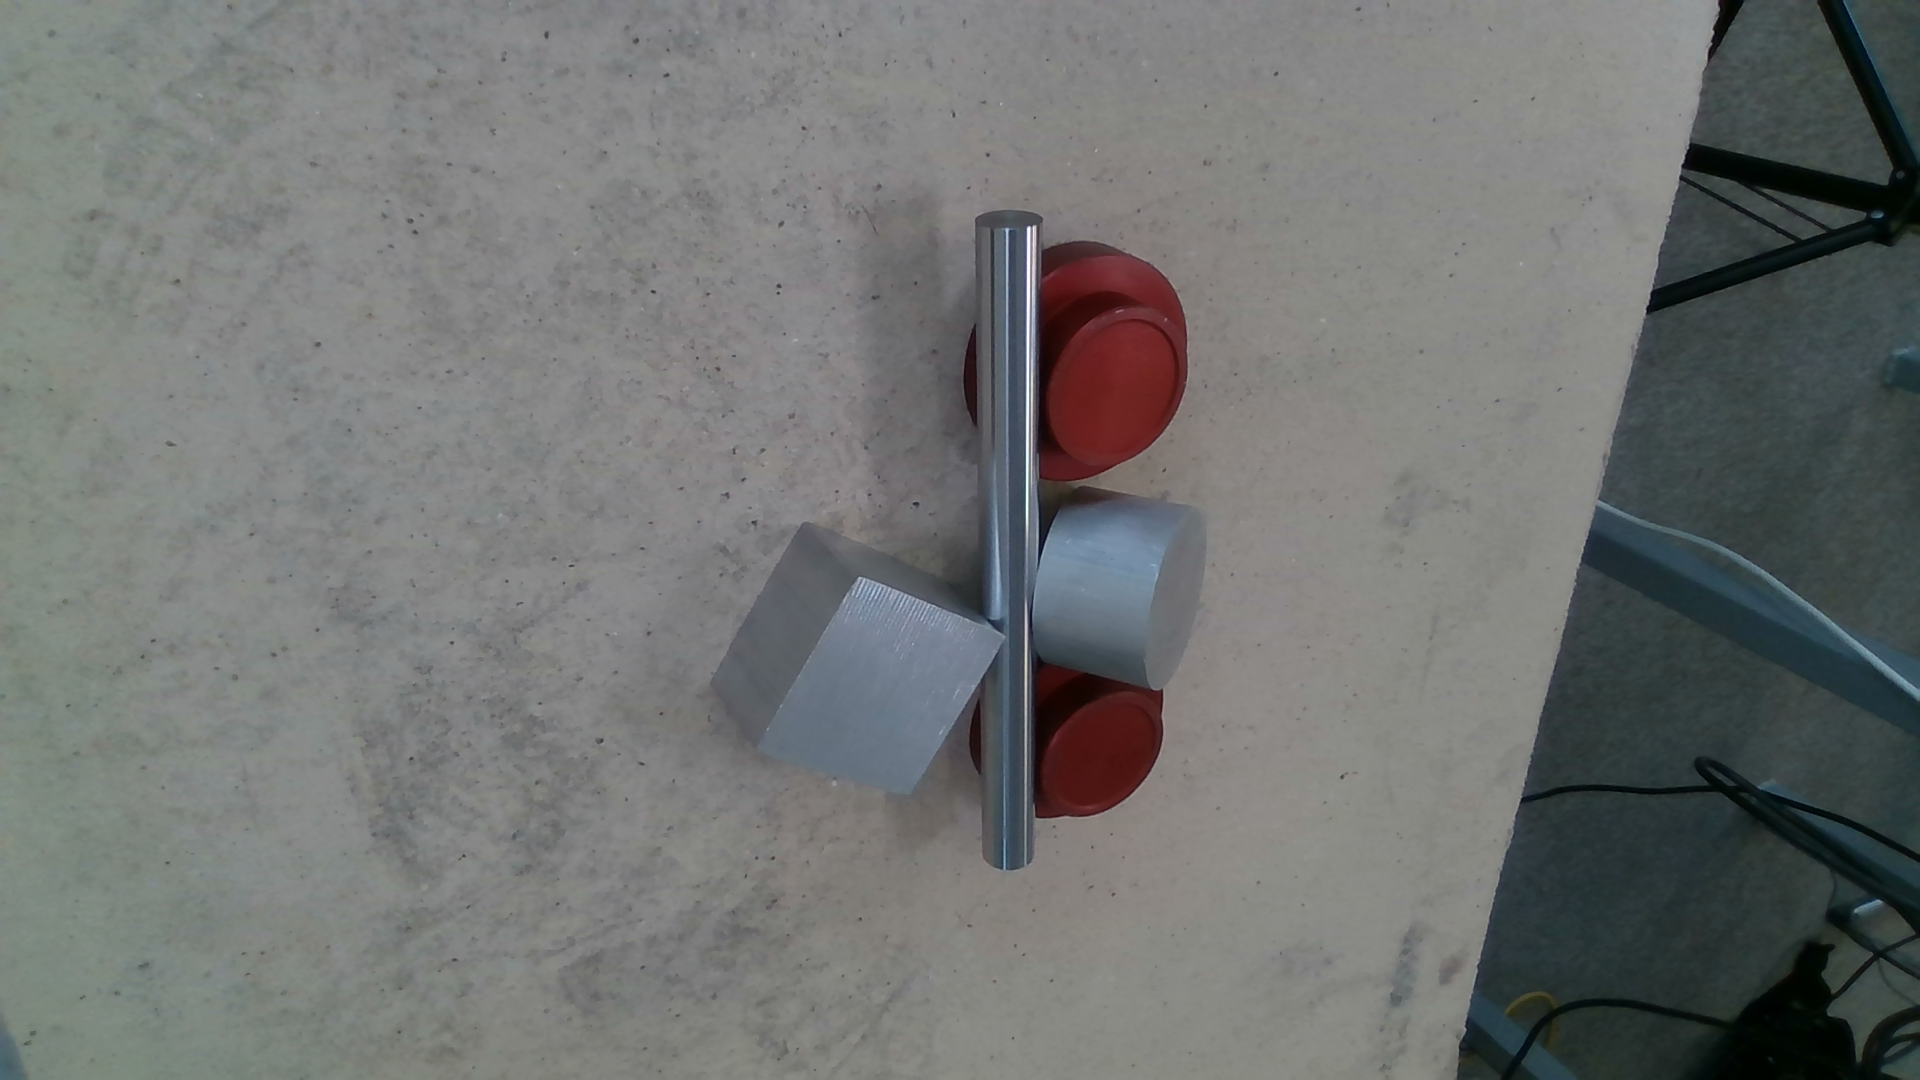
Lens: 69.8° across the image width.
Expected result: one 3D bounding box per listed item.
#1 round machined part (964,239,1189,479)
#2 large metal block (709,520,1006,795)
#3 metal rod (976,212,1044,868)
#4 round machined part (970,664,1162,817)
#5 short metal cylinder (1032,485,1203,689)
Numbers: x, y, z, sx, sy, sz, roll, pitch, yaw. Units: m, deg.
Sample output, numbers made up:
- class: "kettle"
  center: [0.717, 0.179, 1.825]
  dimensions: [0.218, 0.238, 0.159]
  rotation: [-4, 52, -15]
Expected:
- class: "round machined part"
  center: [0.054, -0.070, 0.565]
  dimensions: [0.098, 0.042, 0.098]
  rotation: [-14, 122, -25]
- class: "large metal block"
  center: [-0.042, 0.049, 0.563]
  dimensions: [0.080, 0.050, 0.080]
  rotation: [24, 101, -38]
- class: "metal rod"
  center: [0.021, 0.014, 0.574]
  dimensions: [0.025, 0.025, 0.301]
  rotation: [-15, 122, -24]
- class: "round machined part"
  center: [0.056, 0.091, 0.655]
  dimensions: [0.098, 0.042, 0.098]
  rotation: [-14, 122, -25]
- class: "short metal cylinder"
  center: [0.070, 0.020, 0.595]
  dimensions: [0.080, 0.050, 0.080]
  rotation: [-43, 139, -53]
